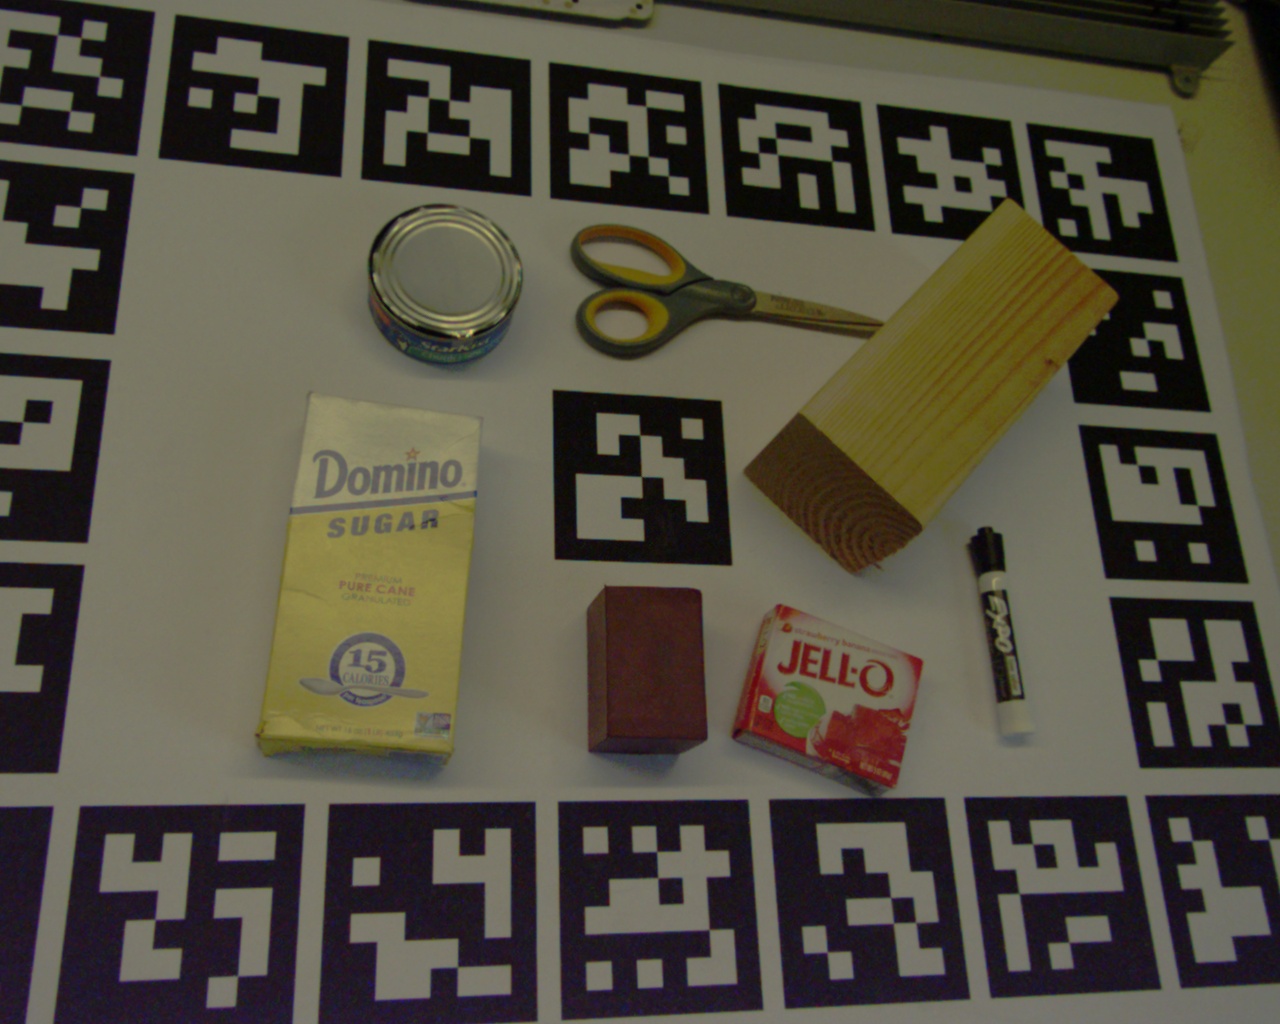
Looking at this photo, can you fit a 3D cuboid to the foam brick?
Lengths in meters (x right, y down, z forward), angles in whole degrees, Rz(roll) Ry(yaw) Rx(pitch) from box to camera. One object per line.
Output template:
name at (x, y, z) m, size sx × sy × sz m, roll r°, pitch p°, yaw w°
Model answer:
foam brick at (-0.004, 0.087, 0.632) m, size 0.052 × 0.051 × 0.078 m, roll 4°, pitch 73°, yaw -12°

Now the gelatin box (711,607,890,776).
gelatin box at (0.093, 0.104, 0.664) m, size 0.089 × 0.030 × 0.073 m, roll 20°, pitch 70°, yaw -5°

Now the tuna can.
tuna can at (-0.125, -0.126, 0.684) m, size 0.085 × 0.034 × 0.086 m, roll 3°, pitch 72°, yaw -12°

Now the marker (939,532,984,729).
marker at (0.197, 0.071, 0.702) m, size 0.019 × 0.020 × 0.121 m, roll 4°, pitch 74°, yaw -12°

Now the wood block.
wood block at (0.164, -0.068, 0.707) m, size 0.090 × 0.091 × 0.205 m, roll 43°, pitch 68°, yaw 4°

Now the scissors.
scissors at (0.041, -0.123, 0.734) m, size 0.202 × 0.016 × 0.088 m, roll 9°, pitch 71°, yaw -7°

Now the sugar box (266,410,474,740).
sugar box at (-0.145, 0.034, 0.626) m, size 0.092 × 0.045 × 0.177 m, roll 7°, pitch 71°, yaw -12°
